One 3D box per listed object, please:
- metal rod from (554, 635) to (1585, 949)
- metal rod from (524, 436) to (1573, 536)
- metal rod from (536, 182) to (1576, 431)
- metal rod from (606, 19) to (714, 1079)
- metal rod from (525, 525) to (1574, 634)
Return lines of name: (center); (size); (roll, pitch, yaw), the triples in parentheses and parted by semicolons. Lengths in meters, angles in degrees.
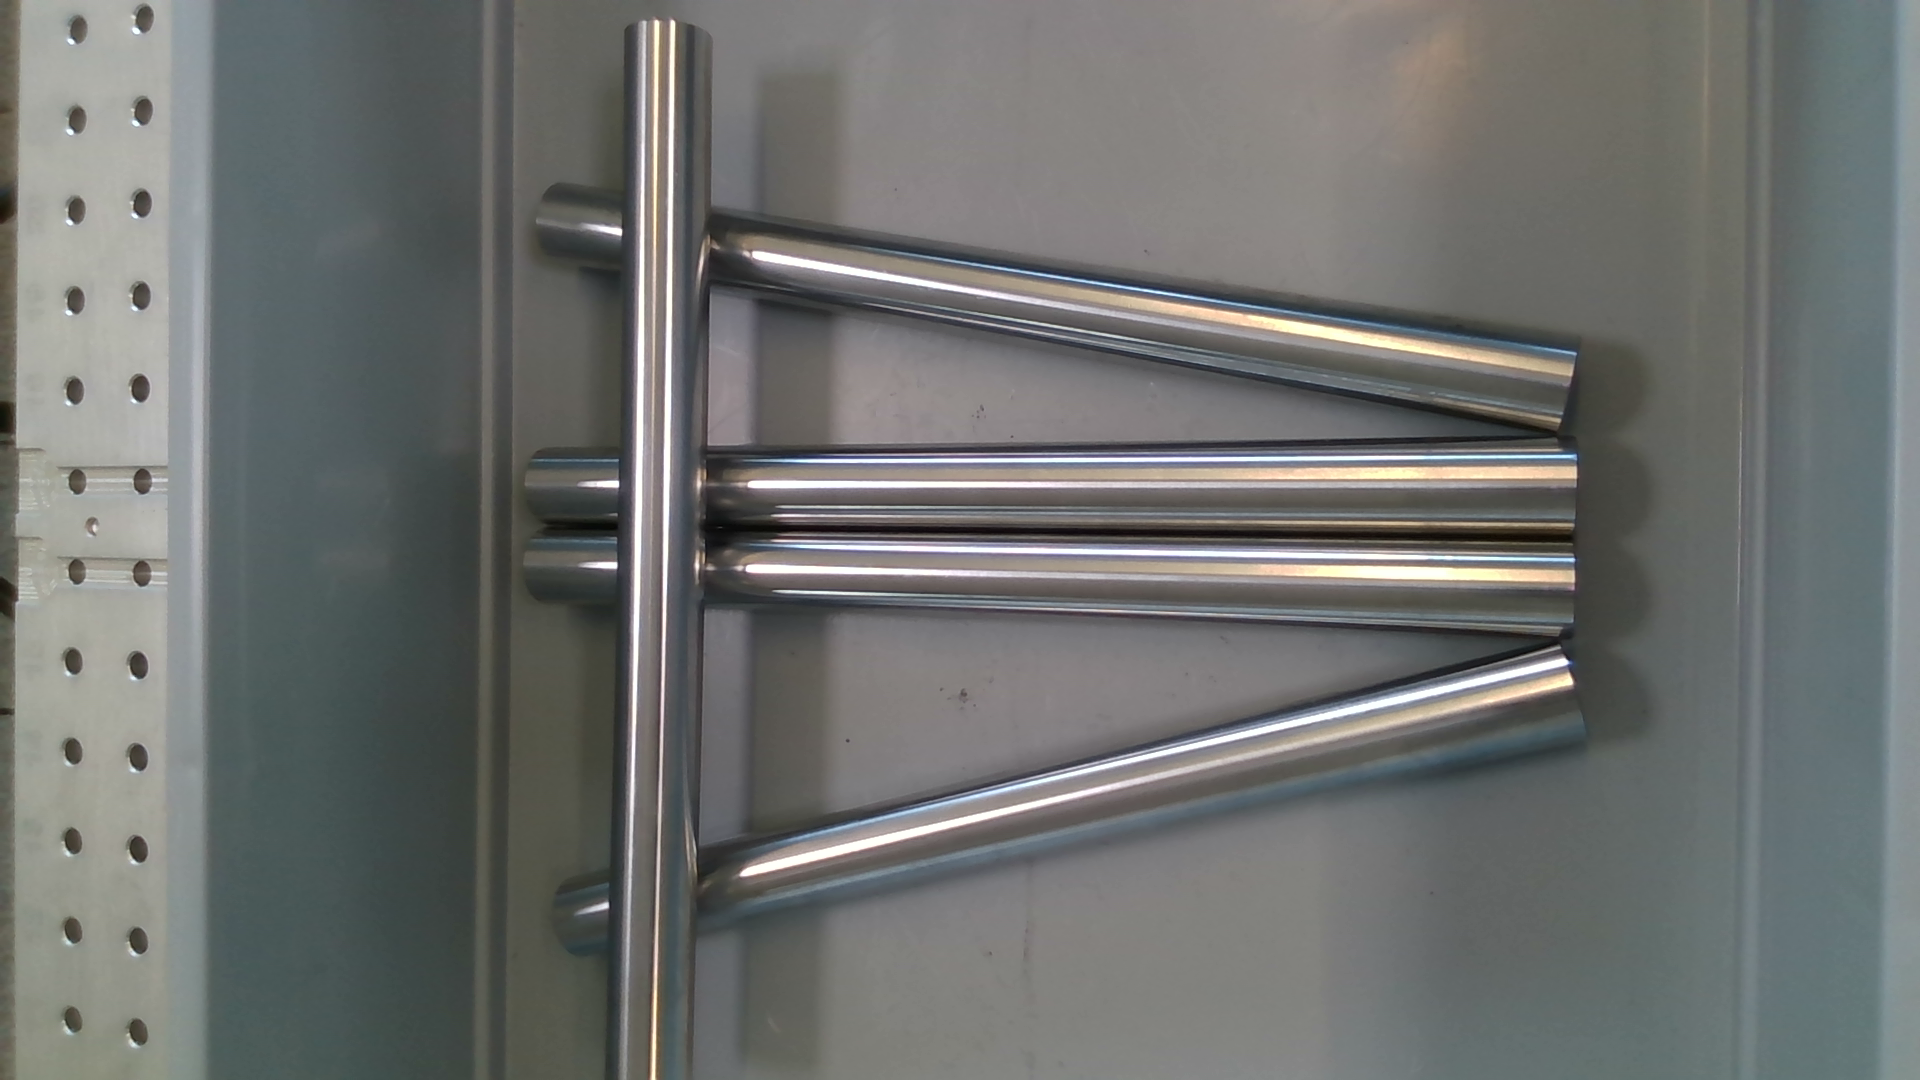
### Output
metal rod: (0.014, 0.076, 0.388); (0.300, 0.025, 0.025); (-17, 84, 19)
metal rod: (0.009, -0.015, 0.390); (0.300, 0.025, 0.025); (1, 91, 20)
metal rod: (0.011, -0.070, 0.389); (0.300, 0.025, 0.025); (13, 95, 20)
metal rod: (-0.086, 0.005, 0.397); (0.025, 0.025, 0.300); (1, 91, 20)
metal rod: (0.009, 0.009, 0.390); (0.300, 0.025, 0.025); (1, 90, 20)
